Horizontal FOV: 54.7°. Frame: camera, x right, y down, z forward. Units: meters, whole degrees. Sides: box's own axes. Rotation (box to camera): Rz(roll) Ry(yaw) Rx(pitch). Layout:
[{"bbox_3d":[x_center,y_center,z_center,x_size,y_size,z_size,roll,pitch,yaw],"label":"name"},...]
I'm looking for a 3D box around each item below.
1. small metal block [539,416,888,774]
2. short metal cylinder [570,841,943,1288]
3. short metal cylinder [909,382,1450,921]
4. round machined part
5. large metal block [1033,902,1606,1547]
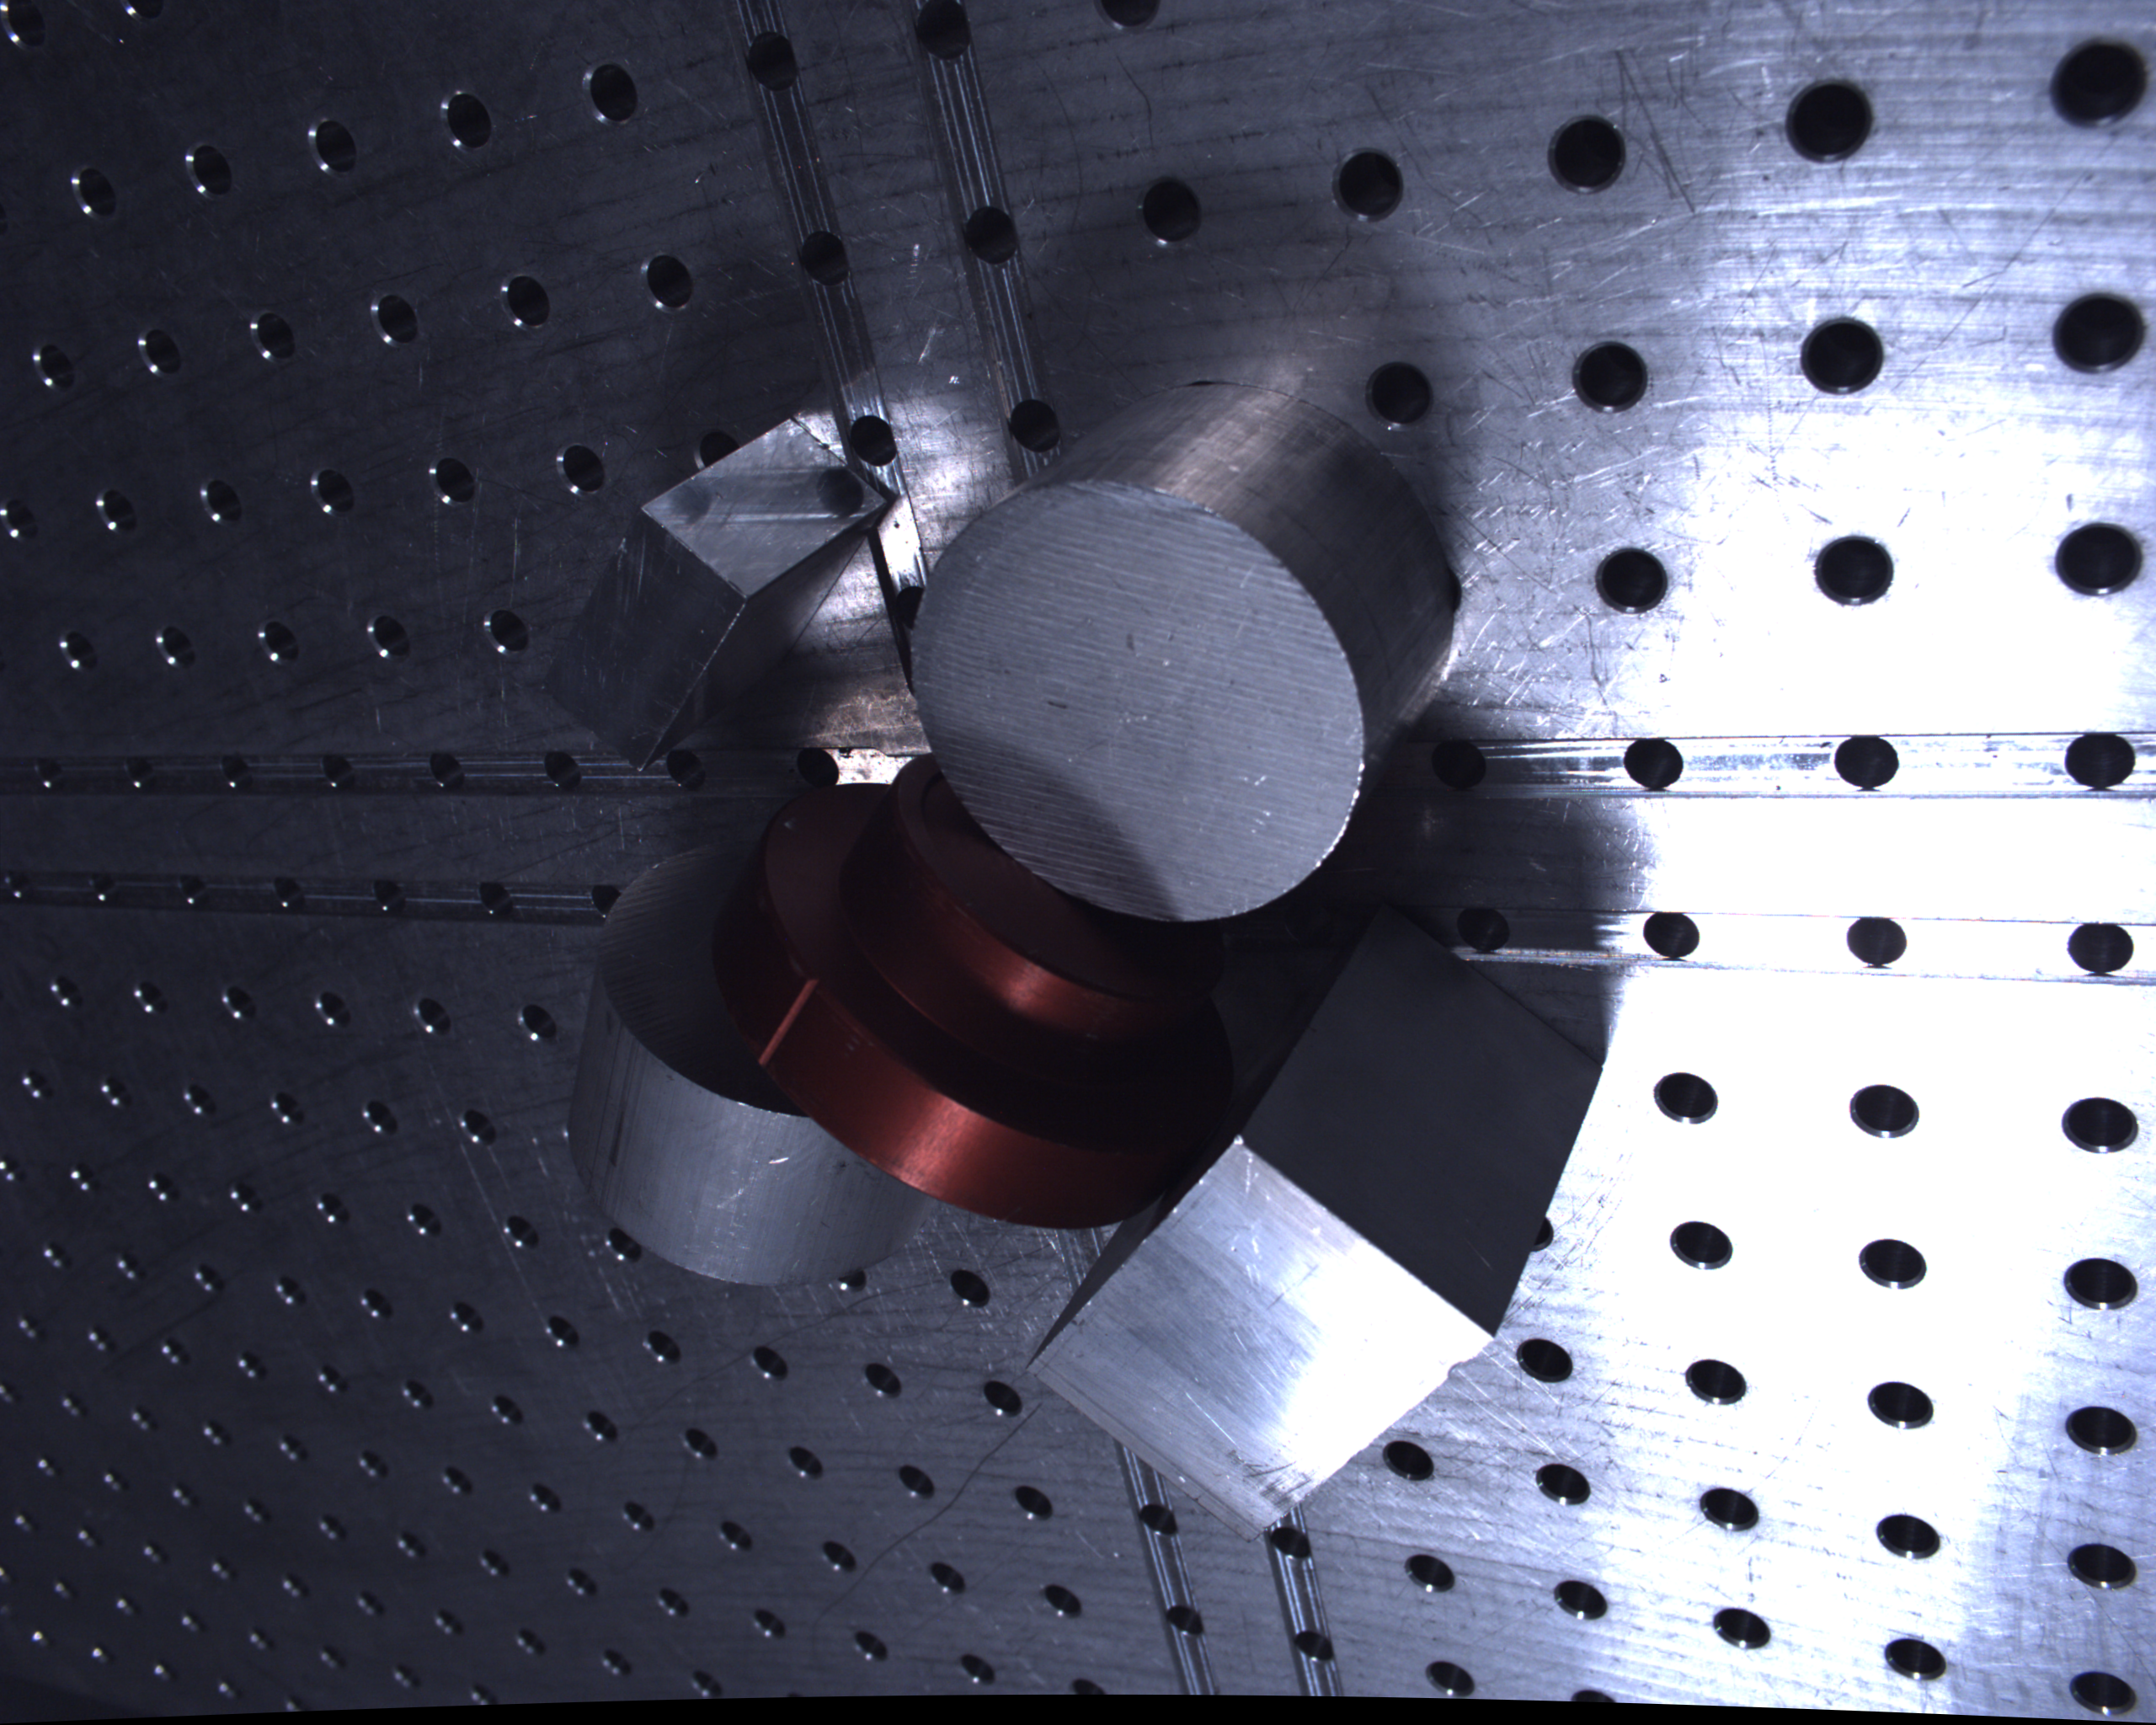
[{"bbox_3d":[-0.069,-0.051,0.398,0.025,0.050,0.050,41,129,0],"label":"small metal block"},{"bbox_3d":[-0.061,0.040,0.431,0.080,0.080,0.050,27,128,10],"label":"short metal cylinder"},{"bbox_3d":[0.018,-0.037,0.361,0.080,0.050,0.079,13,124,20],"label":"short metal cylinder"},{"bbox_3d":[-0.014,0.017,0.381,0.098,0.098,0.042,35,117,4],"label":"round machined part"},{"bbox_3d":[0.046,0.067,0.392,0.050,0.080,0.080,37,129,3],"label":"large metal block"}]
